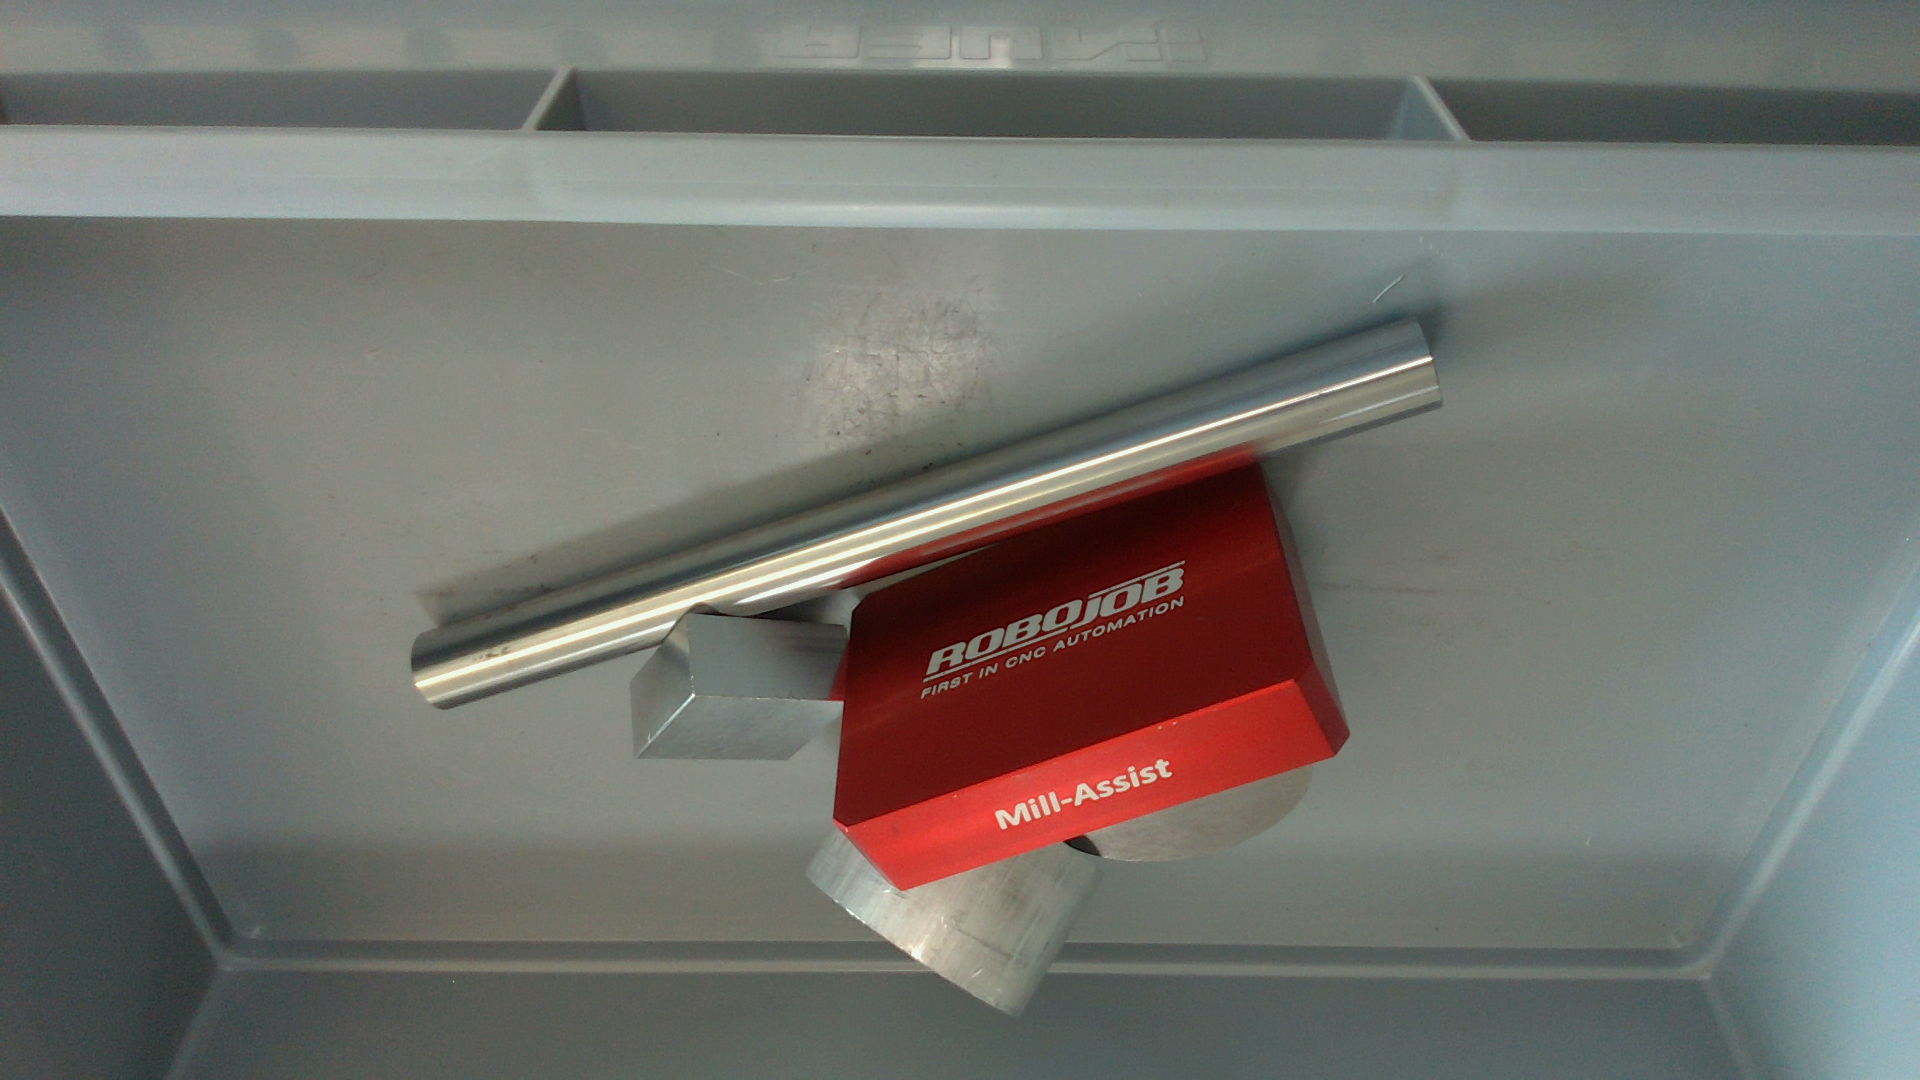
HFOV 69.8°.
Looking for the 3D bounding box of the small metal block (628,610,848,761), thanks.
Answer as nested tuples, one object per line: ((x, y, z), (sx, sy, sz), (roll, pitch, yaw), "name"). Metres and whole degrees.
((-0.066, 0.045, 0.410), (0.050, 0.025, 0.050), (7, 149, -31), "small metal block")

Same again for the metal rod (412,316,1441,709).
((-0.020, -0.003, 0.386), (0.299, 0.025, 0.025), (-17, 128, 14), "metal rod")

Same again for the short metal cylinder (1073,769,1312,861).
((0.059, 0.054, 0.412), (0.080, 0.050, 0.080), (-3, 139, -3), "short metal cylinder")

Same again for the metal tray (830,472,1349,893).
((0.031, 0.035, 0.376), (0.130, 0.090, 0.030), (-21, 127, 17), "metal tray")

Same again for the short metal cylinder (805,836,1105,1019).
((-0.002, 0.105, 0.433), (0.080, 0.080, 0.050), (39, 79, -28), "short metal cylinder")
